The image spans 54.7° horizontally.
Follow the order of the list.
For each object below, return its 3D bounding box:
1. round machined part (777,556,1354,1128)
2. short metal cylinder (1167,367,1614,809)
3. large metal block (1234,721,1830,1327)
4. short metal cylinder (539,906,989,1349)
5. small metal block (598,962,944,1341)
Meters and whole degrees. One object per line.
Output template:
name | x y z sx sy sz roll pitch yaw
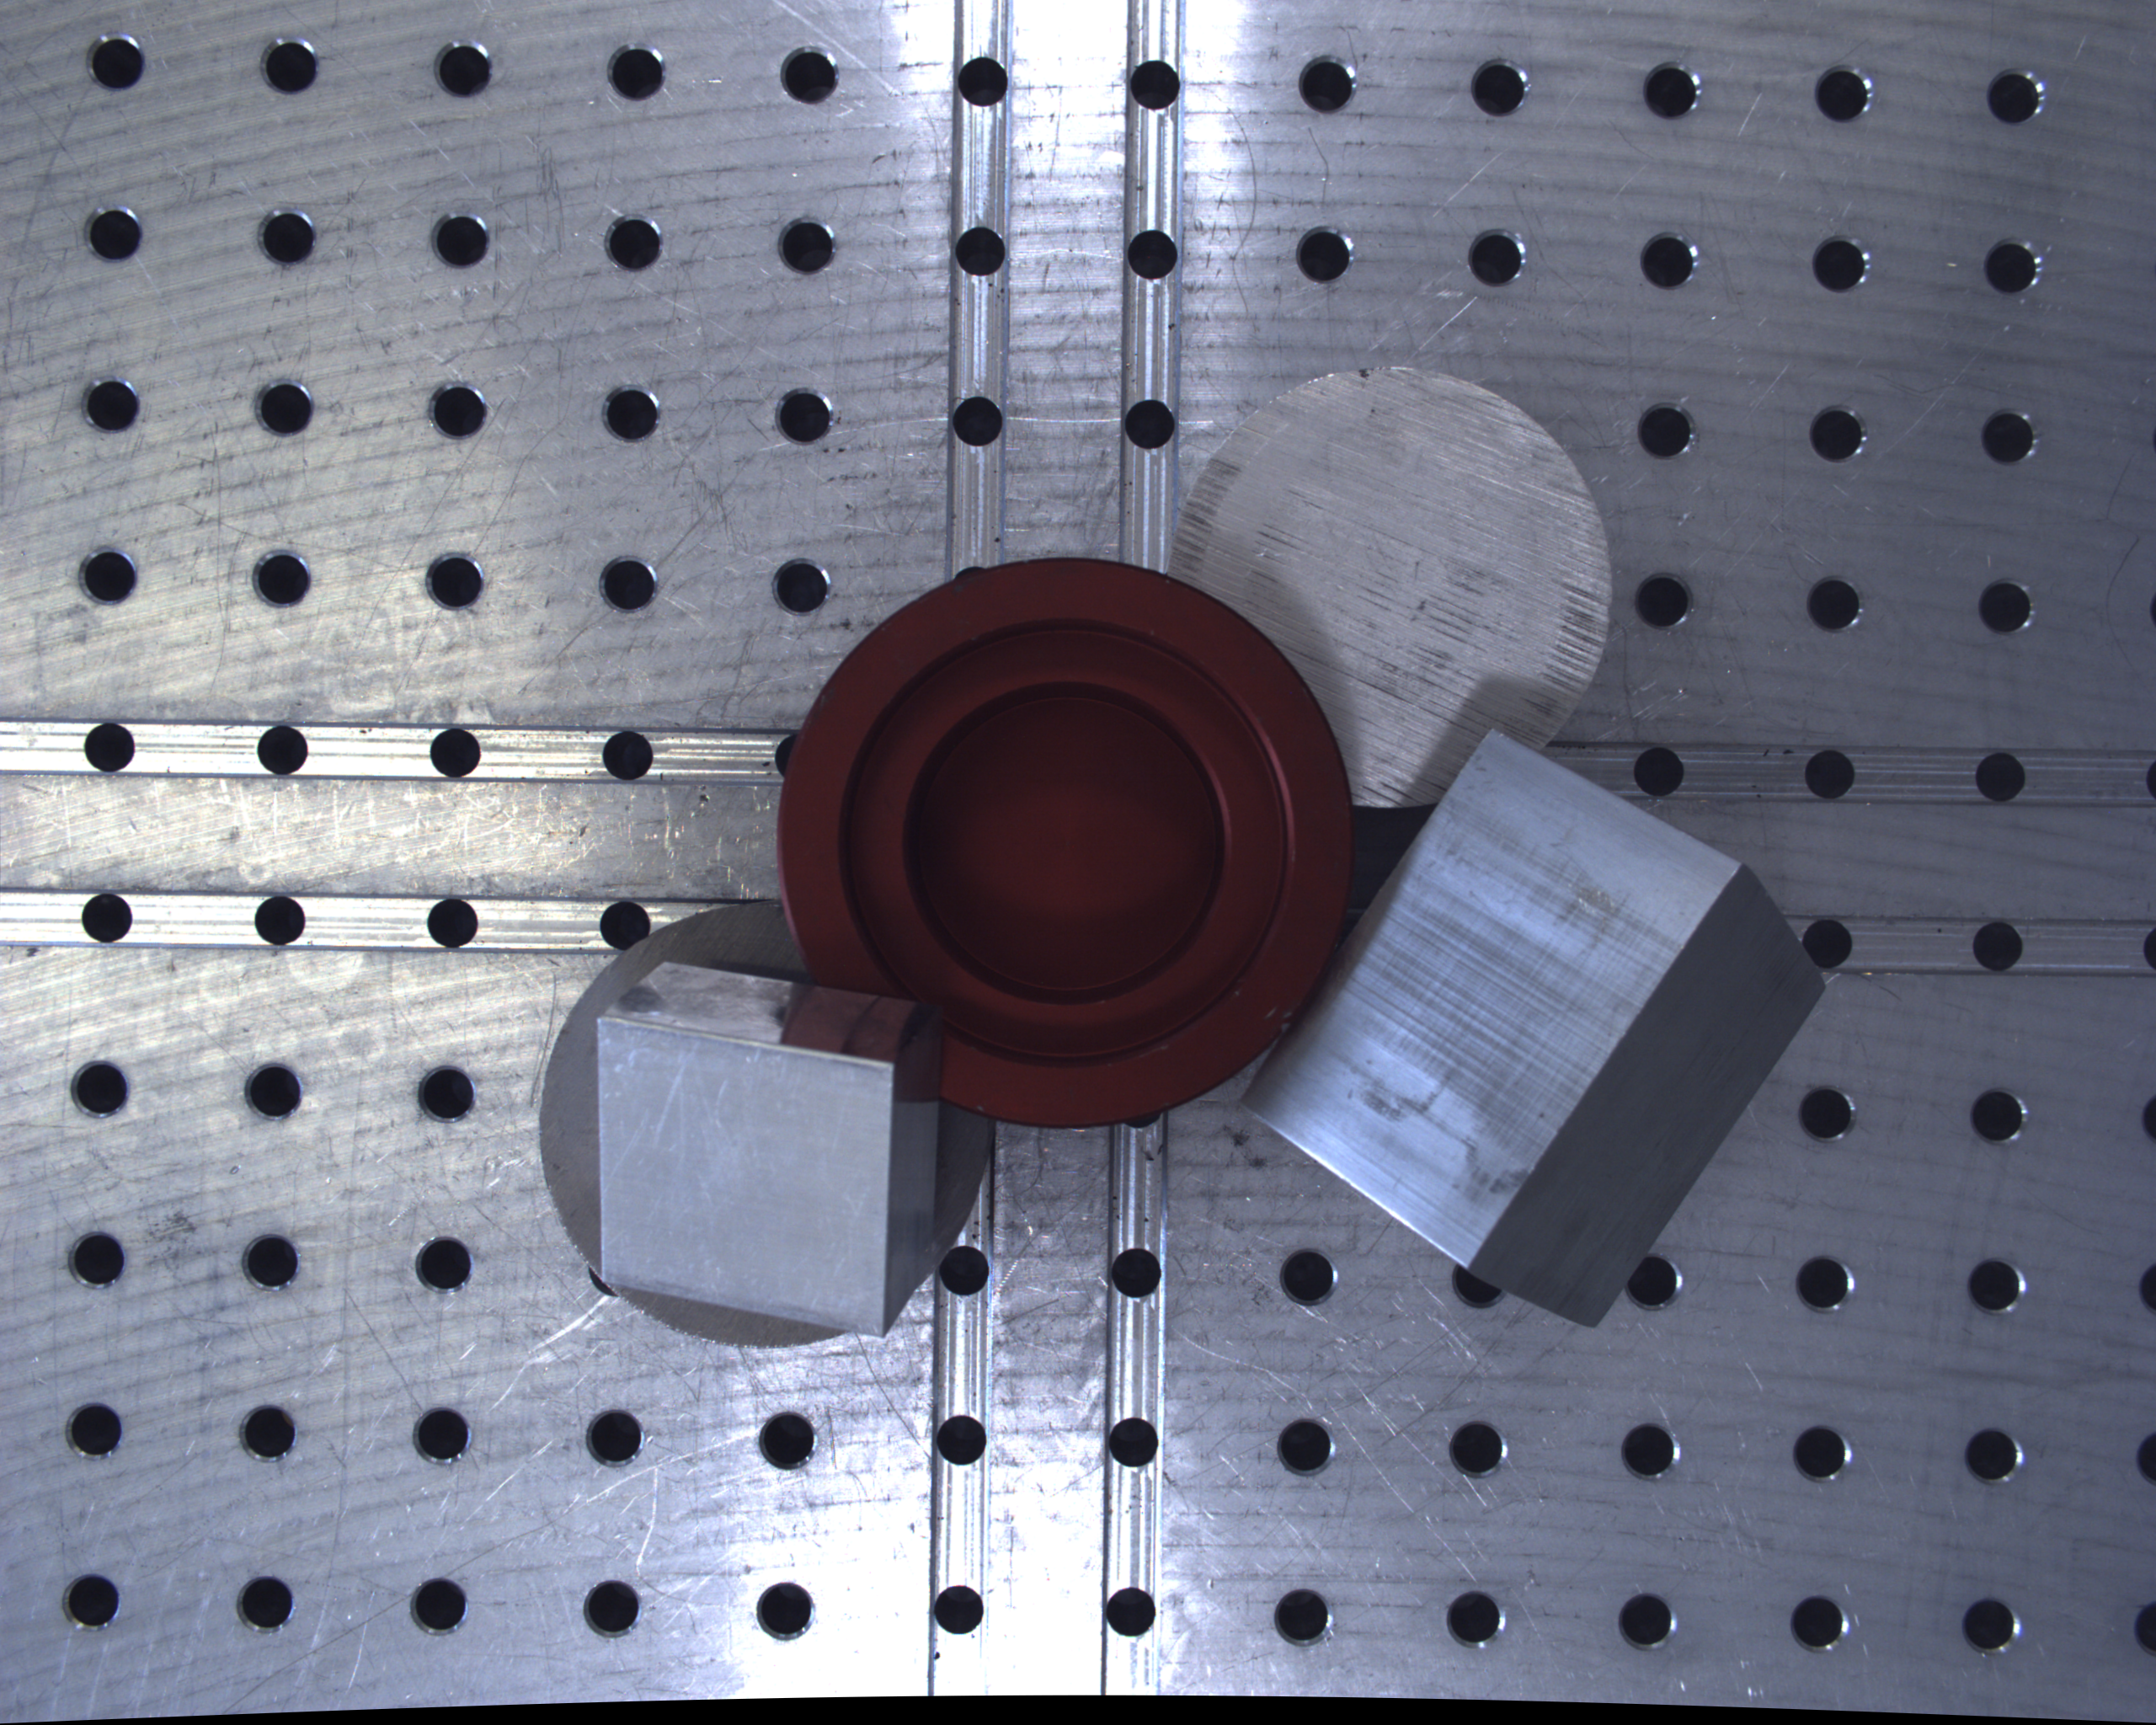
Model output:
round machined part | -0.002 -0.004 0.375 0.099 0.042 0.097 0 90 0
short metal cylinder | 0.056 -0.050 0.401 0.081 0.050 0.079 0 90 0
large metal block | 0.086 0.032 0.380 0.050 0.080 0.080 34 90 34
short metal cylinder | -0.057 0.048 0.400 0.081 0.050 0.079 0 90 0
small metal block | -0.051 0.048 0.350 0.050 0.025 0.050 8 110 12
